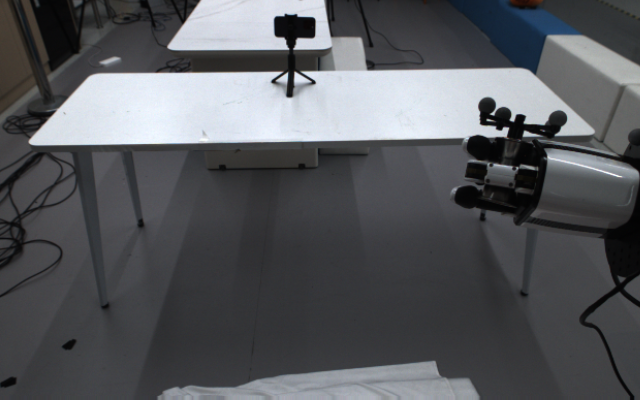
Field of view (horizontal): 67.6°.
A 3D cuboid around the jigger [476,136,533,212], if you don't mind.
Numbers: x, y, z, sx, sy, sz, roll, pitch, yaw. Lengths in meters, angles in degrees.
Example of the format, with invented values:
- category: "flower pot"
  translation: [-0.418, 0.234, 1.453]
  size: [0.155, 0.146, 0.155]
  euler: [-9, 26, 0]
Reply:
- category: "jigger"
  translation: [0.202, -0.029, 0.522]
  size: [0.043, 0.071, 0.043]
  euler: [14, 1, 0]
